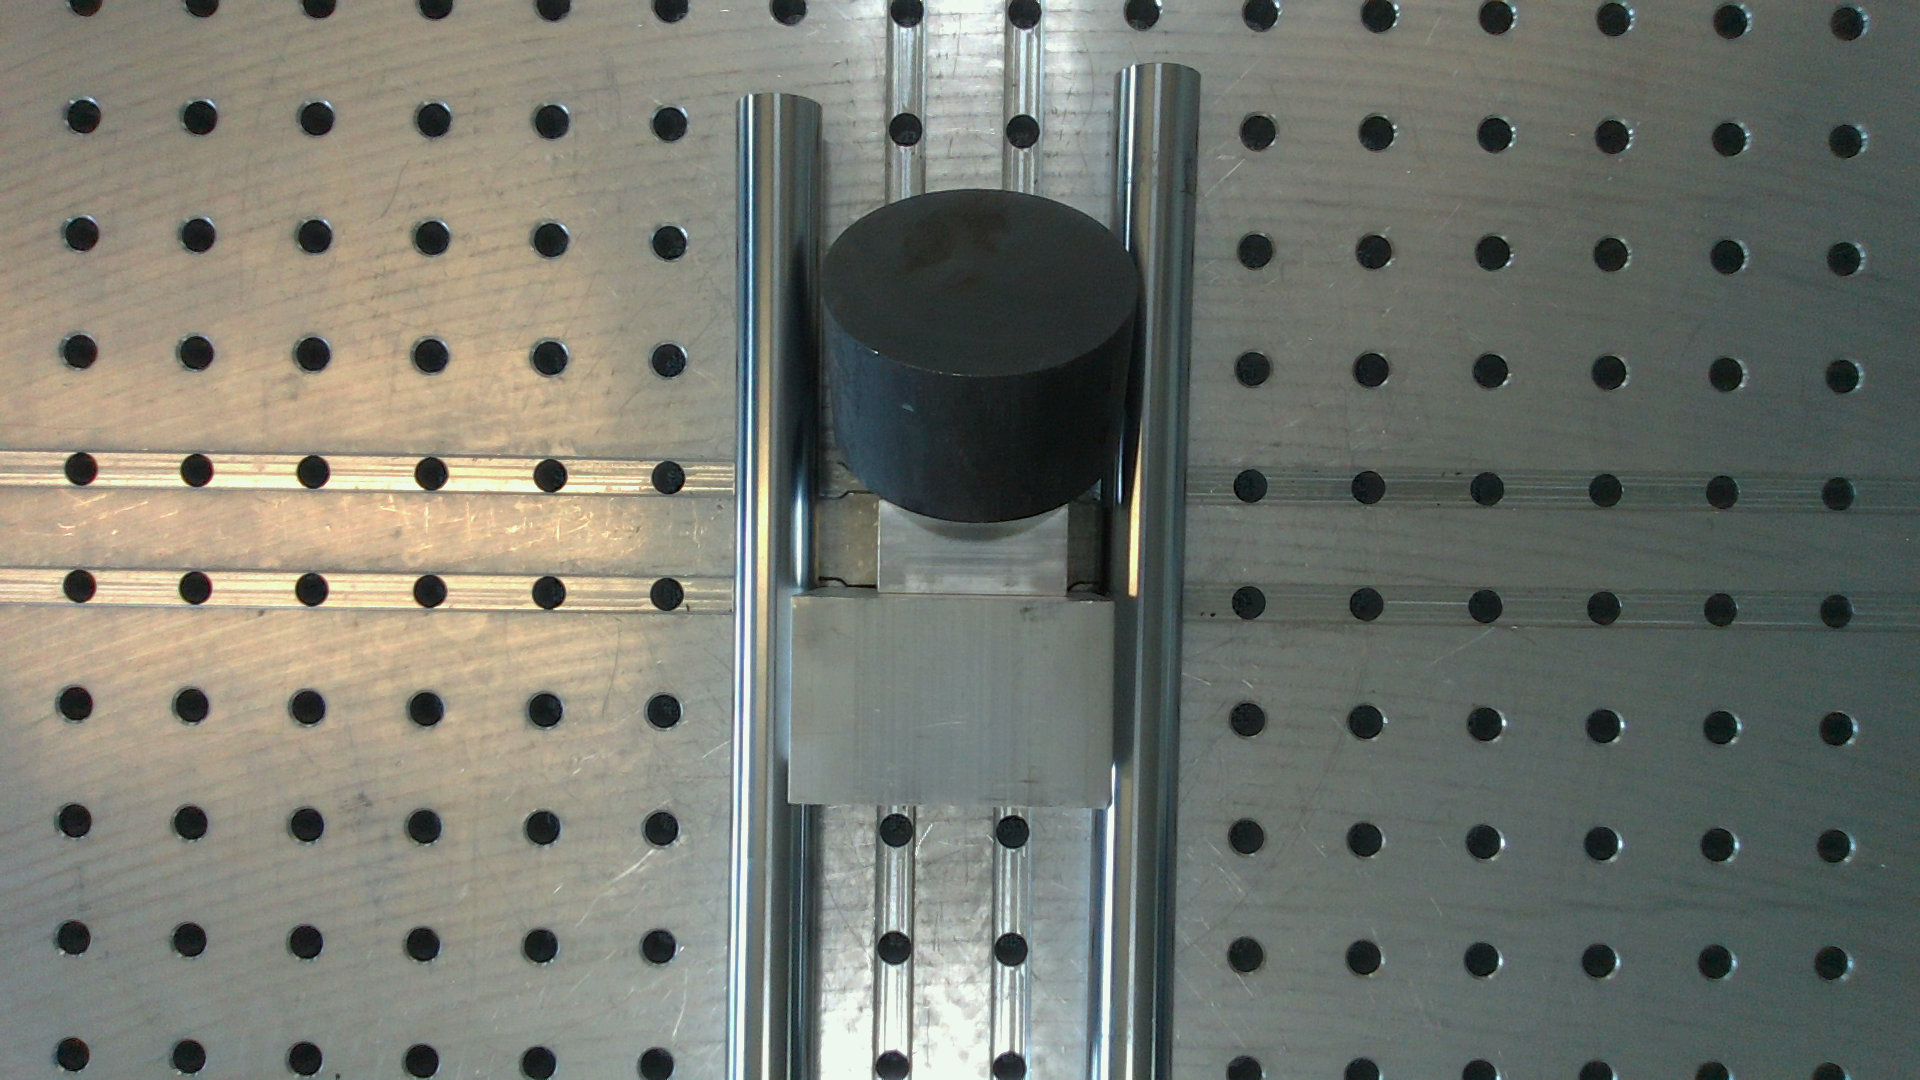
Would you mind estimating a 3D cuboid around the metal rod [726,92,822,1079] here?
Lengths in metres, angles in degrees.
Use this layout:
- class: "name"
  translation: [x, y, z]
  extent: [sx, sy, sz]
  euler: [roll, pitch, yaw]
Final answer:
- class: "metal rod"
  translation: [-0.054, 0.025, 0.397]
  extent: [0.025, 0.025, 0.300]
  euler: [1, 90, 0]

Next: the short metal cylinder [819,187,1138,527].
- class: "short metal cylinder"
  translation: [0.004, -0.050, 0.363]
  extent: [0.080, 0.050, 0.080]
  euler: [1, 46, -1]

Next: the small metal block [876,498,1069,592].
- class: "small metal block"
  translation: [0.003, 0.002, 0.385]
  extent: [0.050, 0.050, 0.025]
  euler: [1, 90, 0]

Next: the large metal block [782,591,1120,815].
- class: "large metal block"
  translation: [-0.002, 0.040, 0.368]
  extent: [0.080, 0.080, 0.050]
  euler: [1, 90, 0]

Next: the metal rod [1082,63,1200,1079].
- class: "metal rod"
  translation: [0.052, 0.017, 0.398]
  extent: [0.025, 0.025, 0.300]
  euler: [2, 90, 0]
